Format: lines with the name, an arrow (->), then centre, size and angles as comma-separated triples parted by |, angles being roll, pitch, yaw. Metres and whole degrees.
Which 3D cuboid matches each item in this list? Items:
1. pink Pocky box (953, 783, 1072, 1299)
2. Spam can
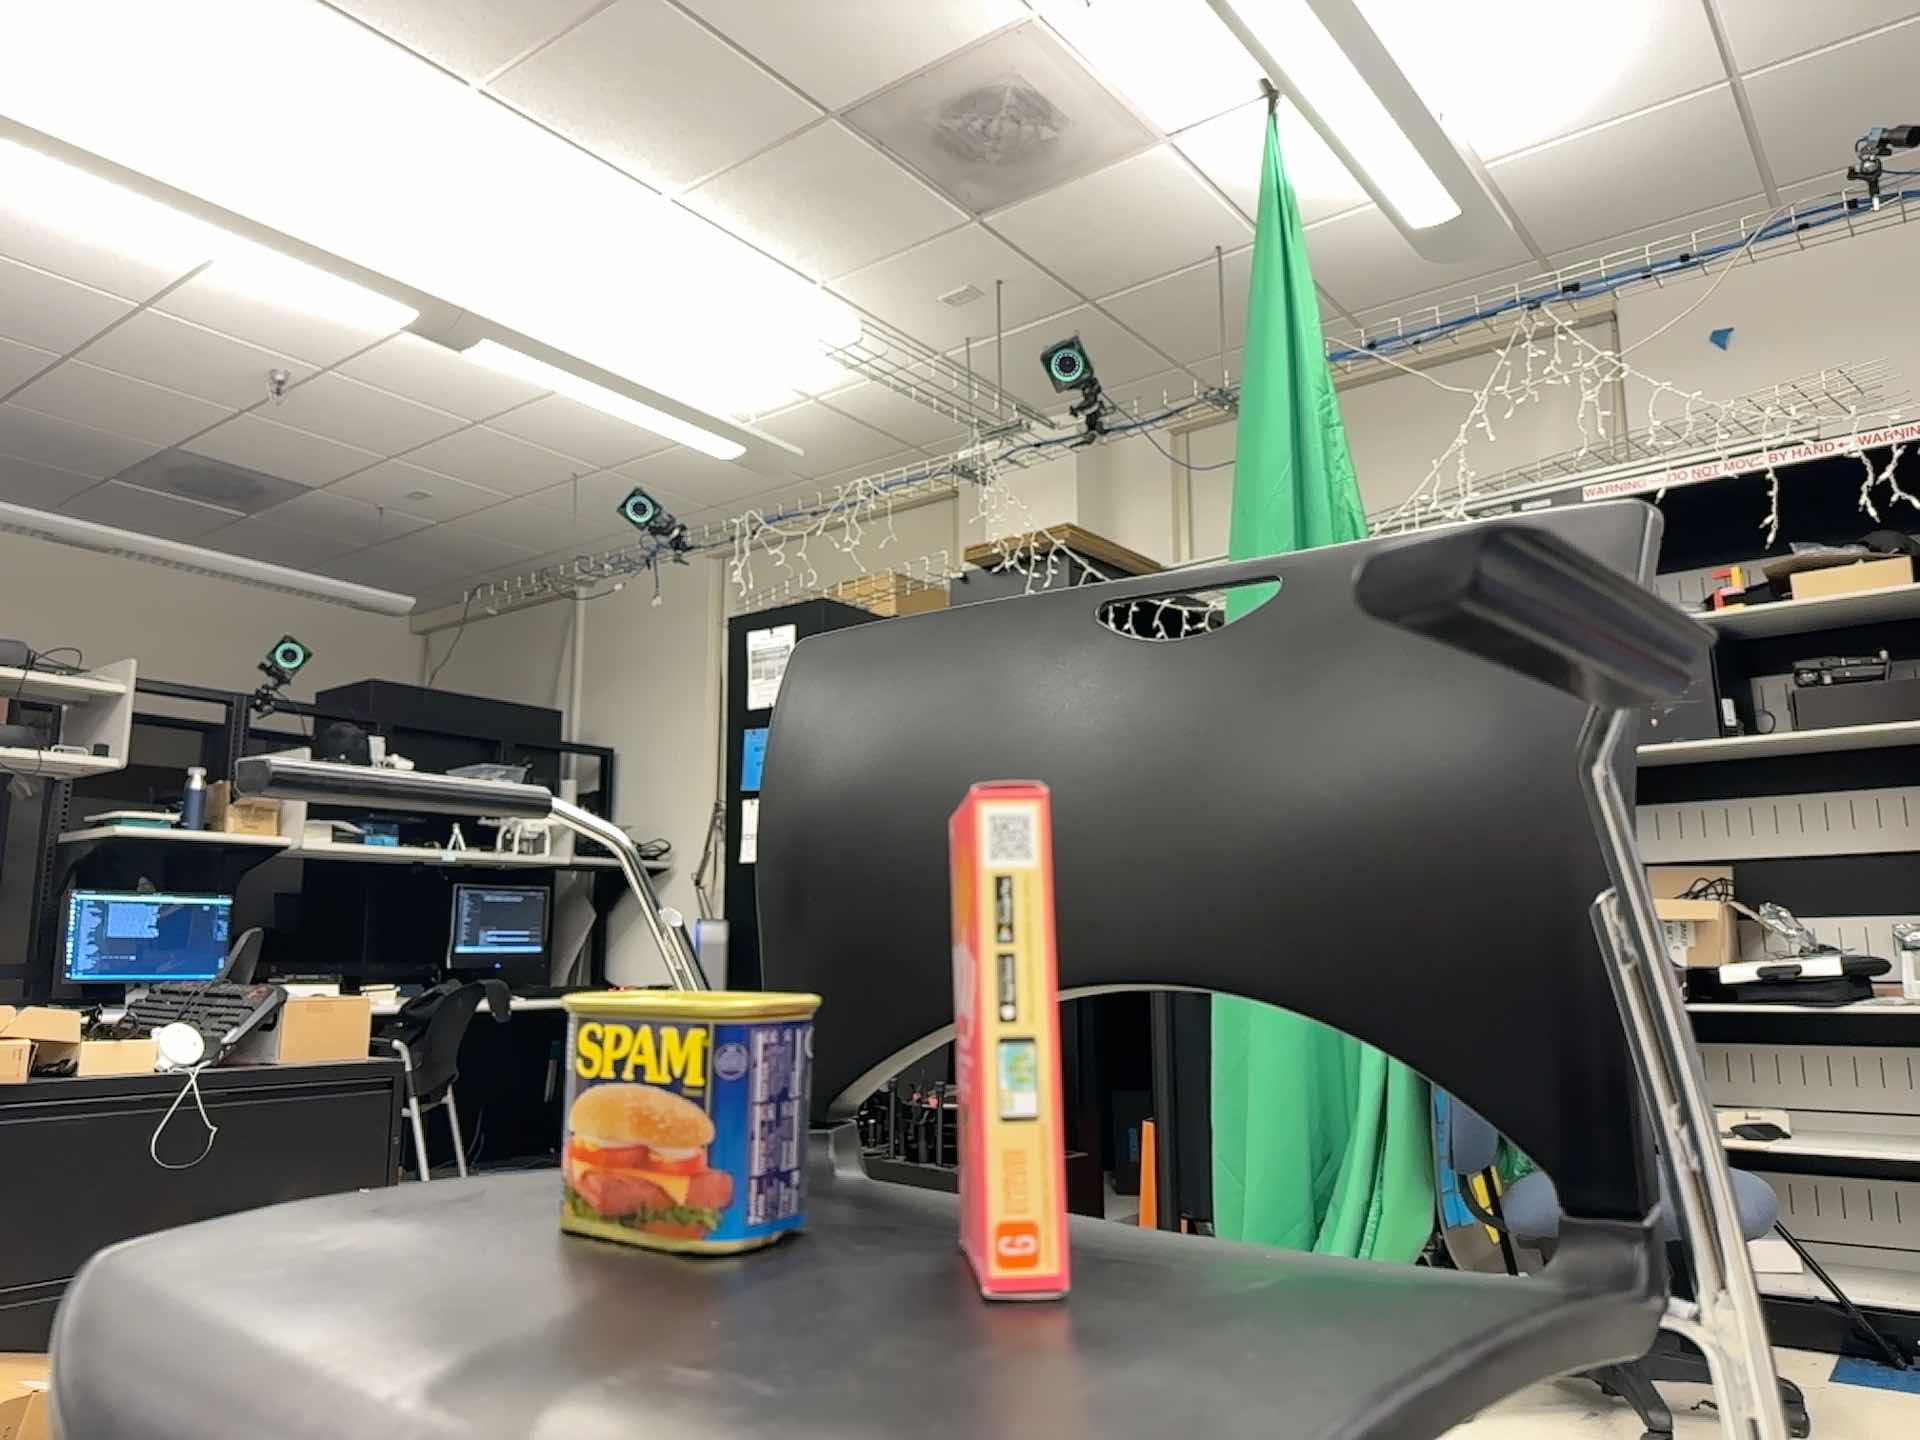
pink Pocky box -> 0.015, 0.104, 0.450 | 0.029, 0.154, 0.084 | 0, -12, -4
Spam can -> -0.106, 0.146, 0.510 | 0.100, 0.083, 0.056 | -8, -13, 41
